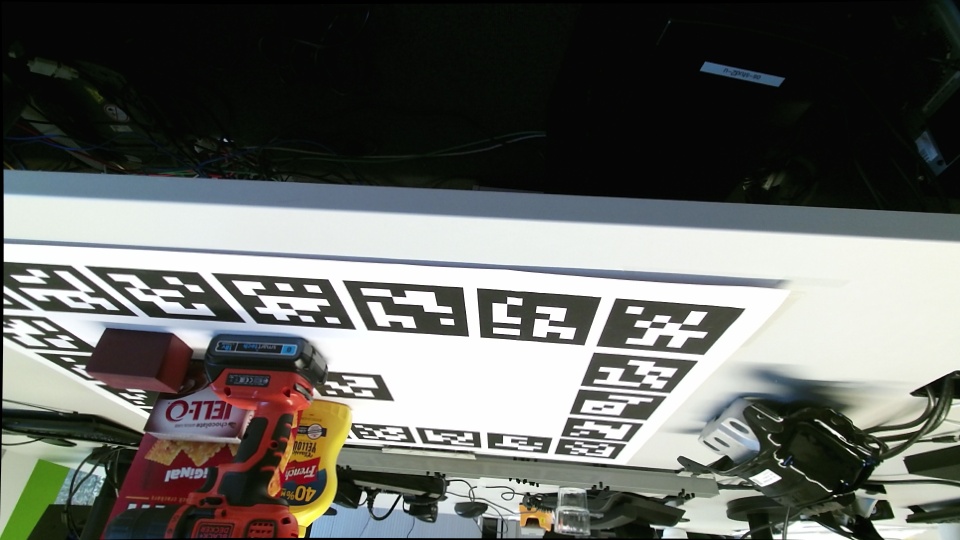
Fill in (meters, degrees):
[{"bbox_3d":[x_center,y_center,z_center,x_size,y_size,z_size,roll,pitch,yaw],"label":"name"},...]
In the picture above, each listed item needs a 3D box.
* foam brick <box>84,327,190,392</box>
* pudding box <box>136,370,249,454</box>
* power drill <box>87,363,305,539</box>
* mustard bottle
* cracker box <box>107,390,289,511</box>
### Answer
[{"bbox_3d":[-0.376,0.098,0.591,0.078,0.051,0.053,4,143,1],"label":"foam brick"},{"bbox_3d":[-0.320,0.165,0.622,0.114,0.089,0.039,1,147,1],"label":"pudding box"},{"bbox_3d":[-0.264,0.189,0.529,0.185,0.186,0.057,3,149,5],"label":"power drill"},{"bbox_3d":[-0.243,0.294,0.715,0.096,0.190,0.058,11,144,-8],"label":"mustard bottle"},{"bbox_3d":[-0.331,0.236,0.633,0.165,0.212,0.072,0,147,3],"label":"cracker box"}]
